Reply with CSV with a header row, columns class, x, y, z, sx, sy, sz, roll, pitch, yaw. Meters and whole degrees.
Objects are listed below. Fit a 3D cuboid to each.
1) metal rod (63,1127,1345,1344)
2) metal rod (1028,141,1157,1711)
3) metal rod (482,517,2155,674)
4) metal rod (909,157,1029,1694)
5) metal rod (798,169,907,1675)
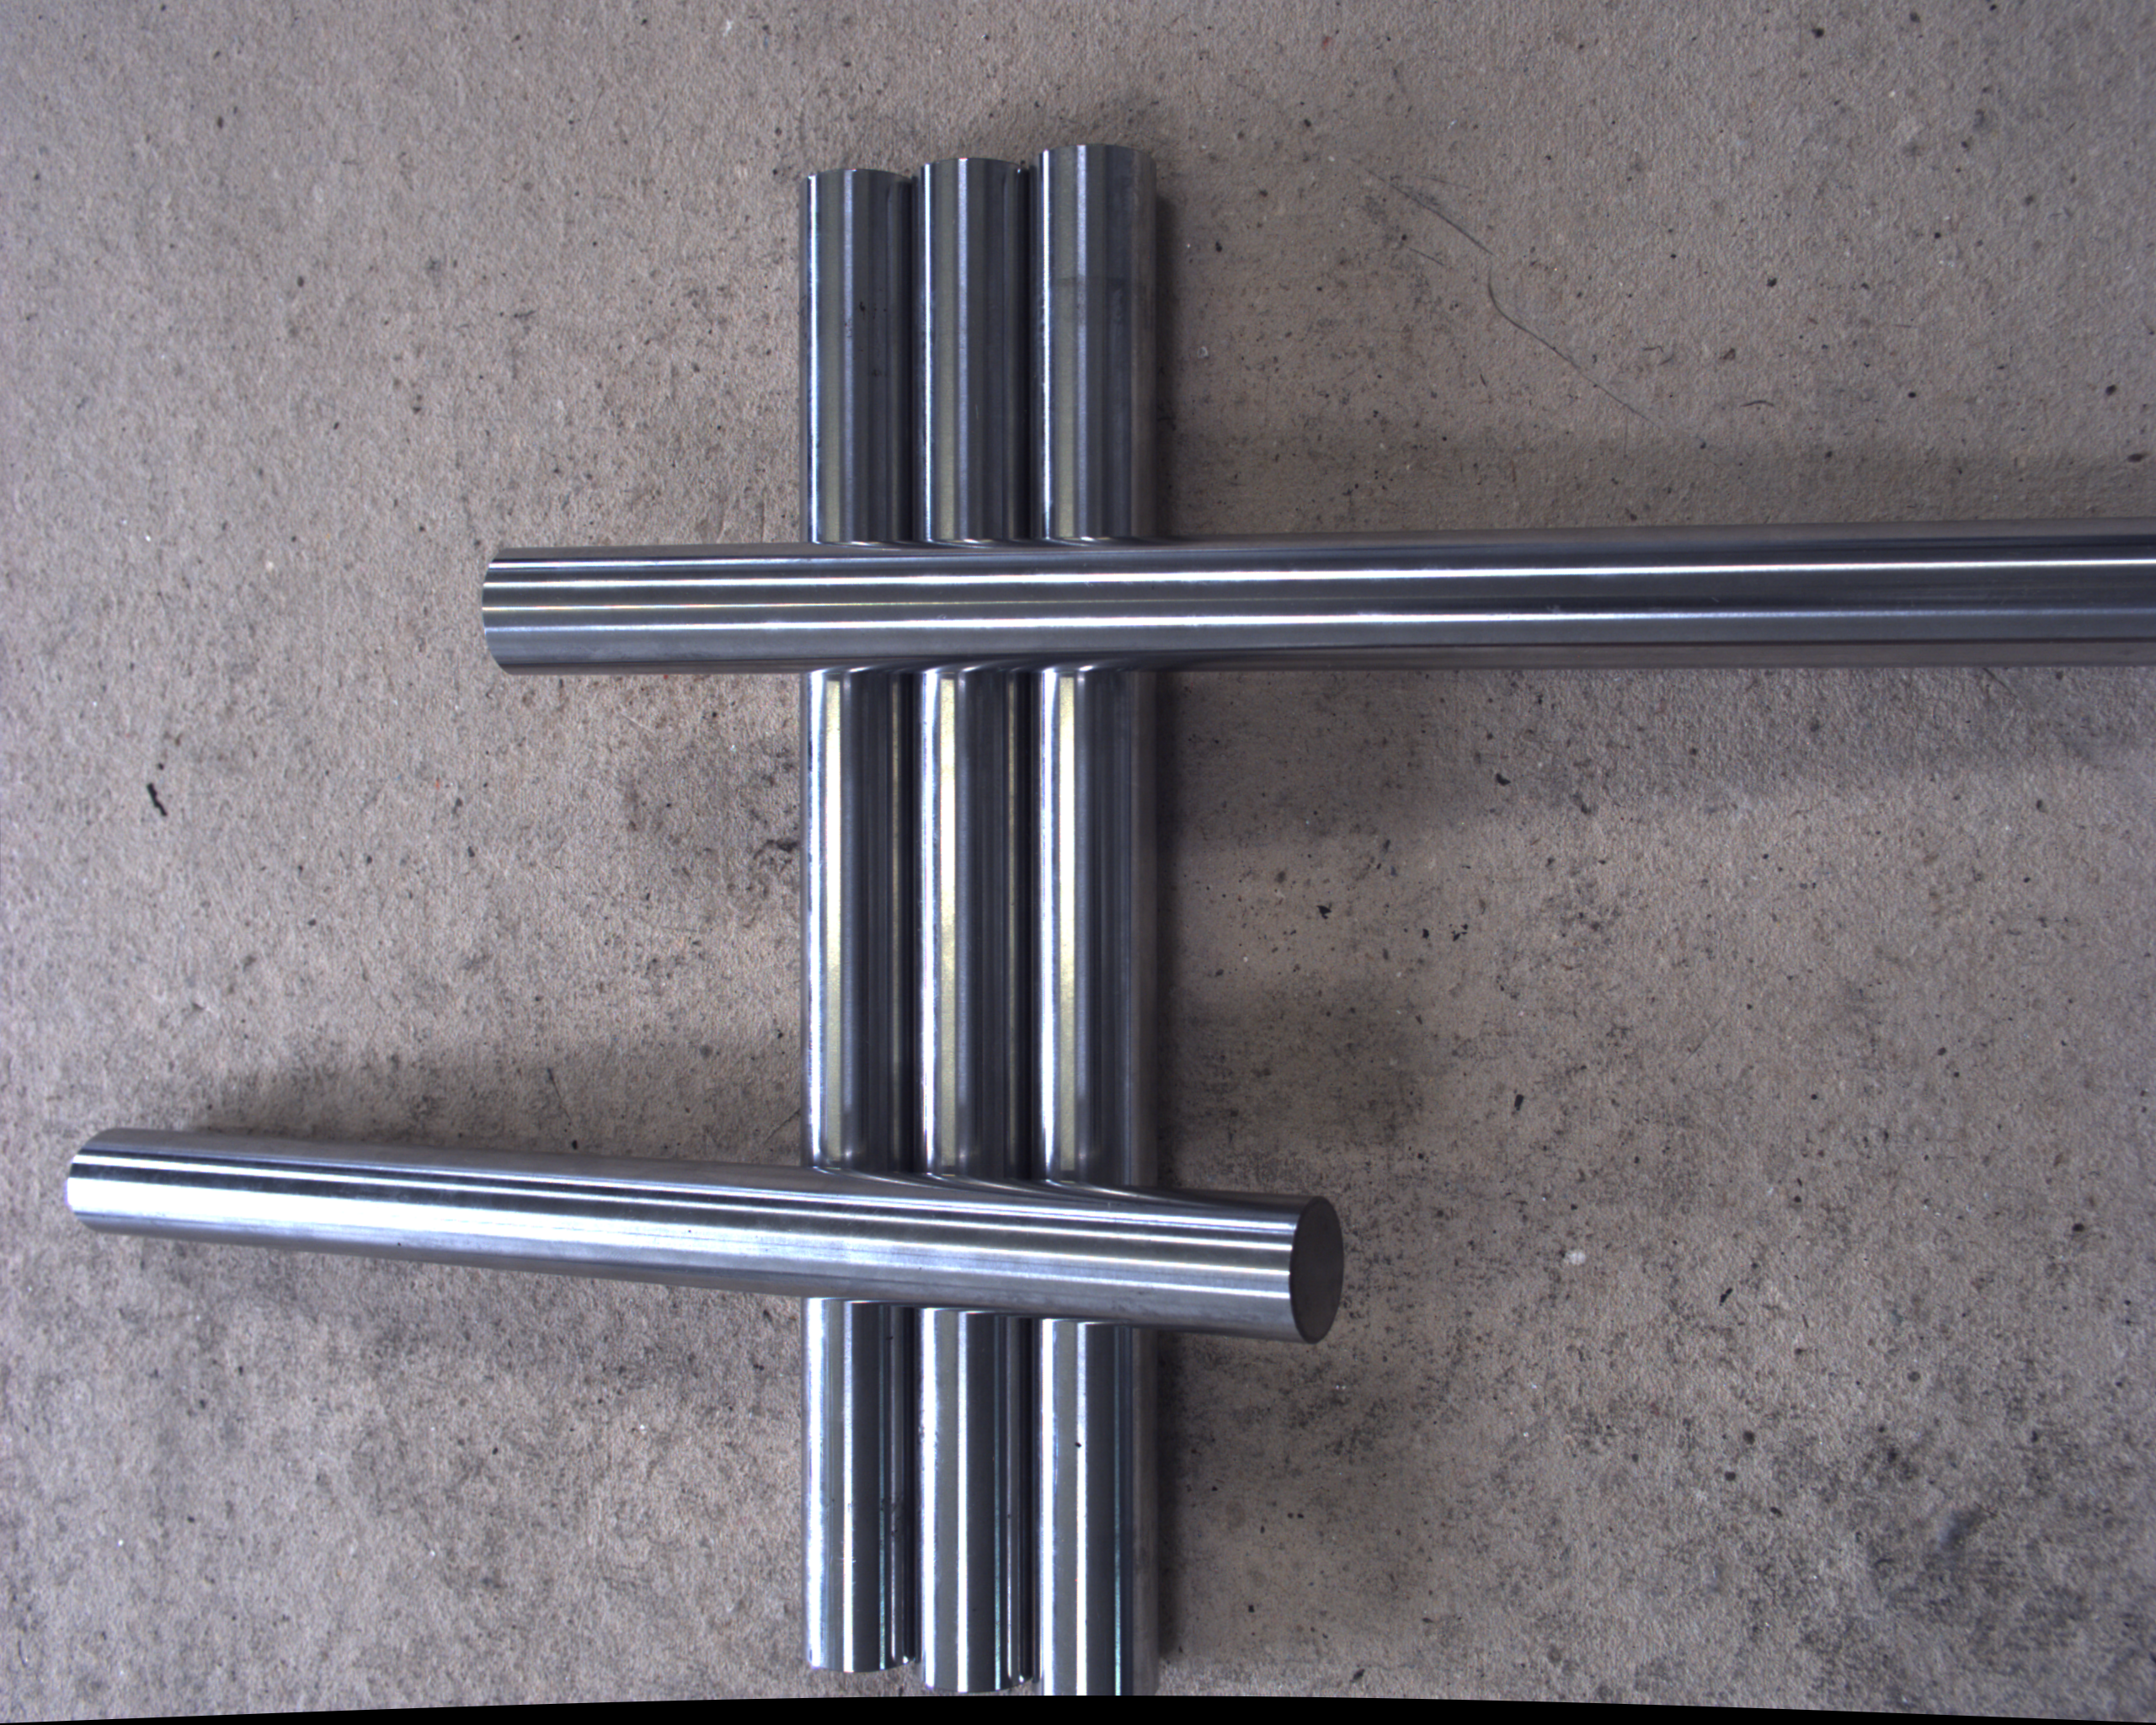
class,x,y,z,sx,sy,sz,roll,pitch,yaw
metal rod,-0.093,0.072,0.422,0.300,0.025,0.025,-1,90,27
metal rod,0.003,0.012,0.409,0.025,0.025,0.298,0,90,20
metal rod,0.037,-0.047,0.376,0.301,0.025,0.025,1,90,12
metal rod,-0.021,0.012,0.417,0.025,0.025,0.298,0,90,20
metal rod,-0.044,0.012,0.425,0.025,0.025,0.298,0,90,20
